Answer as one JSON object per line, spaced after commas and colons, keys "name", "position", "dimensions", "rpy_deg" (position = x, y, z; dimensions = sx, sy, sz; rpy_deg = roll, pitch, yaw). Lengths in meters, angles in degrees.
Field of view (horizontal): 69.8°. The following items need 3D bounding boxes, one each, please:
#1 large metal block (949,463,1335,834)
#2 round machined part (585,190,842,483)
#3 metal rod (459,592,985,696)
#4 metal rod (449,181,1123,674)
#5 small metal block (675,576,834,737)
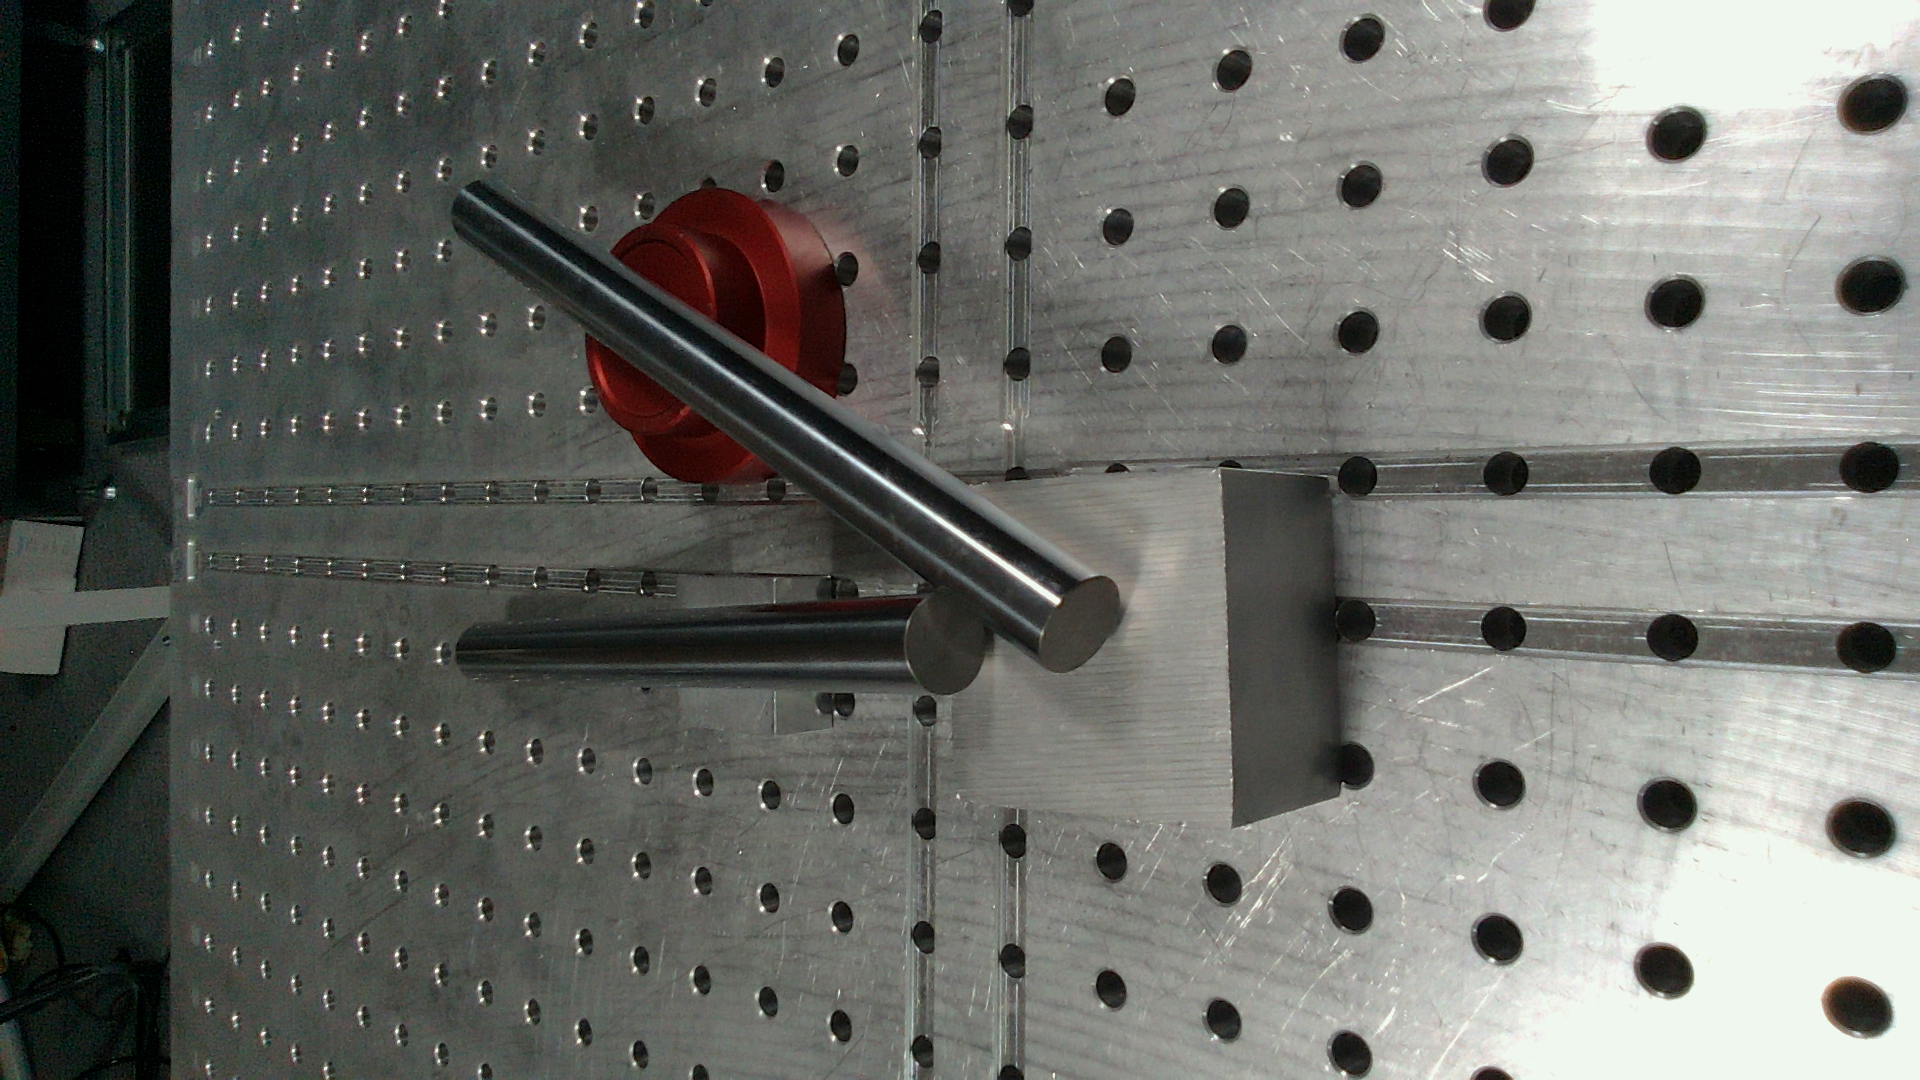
{"name": "large metal block", "position": [0.043, 0.025, 0.341], "dimensions": [0.080, 0.050, 0.080], "rpy_deg": [-3, 88, 40]}
{"name": "round machined part", "position": [-0.088, -0.068, 0.461], "dimensions": [0.098, 0.042, 0.098], "rpy_deg": [0, 90, 40]}
{"name": "metal rod", "position": [-0.098, 0.035, 0.445], "dimensions": [0.299, 0.025, 0.025], "rpy_deg": [-6, 86, 51]}
{"name": "metal rod", "position": [-0.071, -0.048, 0.394], "dimensions": [0.299, 0.025, 0.025], "rpy_deg": [34, 111, 38]}
{"name": "small metal block", "position": [-0.069, 0.037, 0.456], "dimensions": [0.050, 0.025, 0.050], "rpy_deg": [-1, 90, 40]}
